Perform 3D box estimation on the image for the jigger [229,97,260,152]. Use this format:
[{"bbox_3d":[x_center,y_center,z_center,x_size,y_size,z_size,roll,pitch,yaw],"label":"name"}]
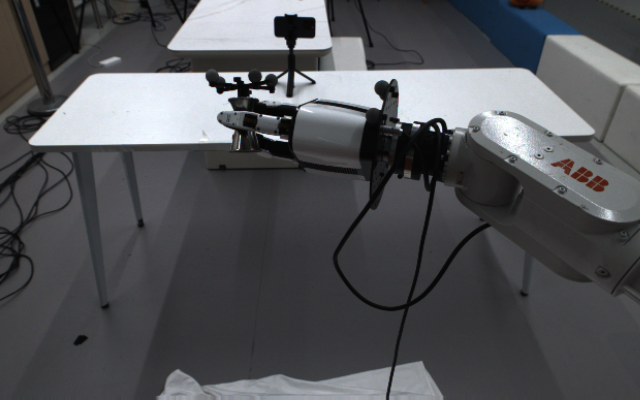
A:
[{"bbox_3d":[-0.099,-0.096,0.631,0.043,0.071,0.043,-2,3,0],"label":"jigger"}]
